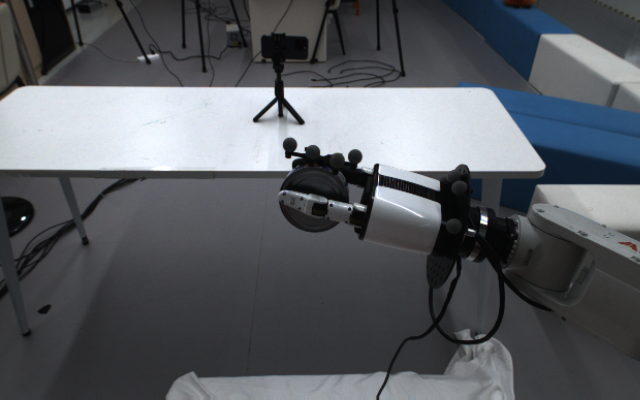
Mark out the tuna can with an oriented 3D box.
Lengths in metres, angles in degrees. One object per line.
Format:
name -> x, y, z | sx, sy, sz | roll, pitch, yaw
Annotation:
tuna can -> -0.005, -0.006, 0.602 | 0.085, 0.085, 0.034 | 5, 18, 4
